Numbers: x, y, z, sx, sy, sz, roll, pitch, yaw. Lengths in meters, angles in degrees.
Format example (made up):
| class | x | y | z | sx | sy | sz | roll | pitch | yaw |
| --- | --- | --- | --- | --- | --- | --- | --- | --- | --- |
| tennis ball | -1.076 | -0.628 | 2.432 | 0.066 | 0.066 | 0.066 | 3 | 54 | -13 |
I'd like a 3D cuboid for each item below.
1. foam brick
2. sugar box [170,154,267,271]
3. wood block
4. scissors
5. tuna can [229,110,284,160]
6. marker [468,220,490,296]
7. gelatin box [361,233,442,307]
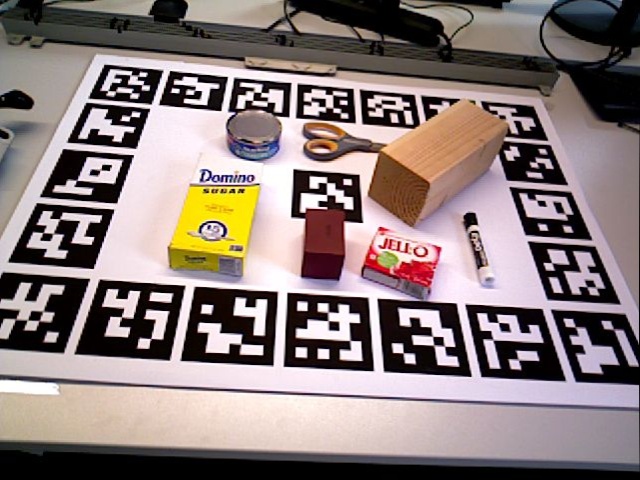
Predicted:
| class | x | y | z | sx | sy | sz | roll | pitch | yaw |
| --- | --- | --- | --- | --- | --- | --- | --- | --- | --- |
| foam brick | 0.006 | 0.010 | 0.701 | 0.052 | 0.052 | 0.076 | 7 | 51 | -1 |
| sugar box | -0.132 | -0.040 | 0.735 | 0.092 | 0.046 | 0.173 | 10 | 51 | 0 |
| wood block | 0.189 | -0.105 | 0.800 | 0.202 | 0.093 | 0.090 | -33 | 61 | -30 |
| scissors | 0.072 | -0.144 | 0.862 | 0.202 | 0.016 | 0.086 | 11 | 51 | 5 |
| tuna can | -0.098 | -0.164 | 0.842 | 0.085 | 0.034 | 0.084 | 3 | 51 | -5 |
| marker | 0.216 | 0.021 | 0.741 | 0.019 | 0.020 | 0.119 | 7 | 53 | -2 |
| gelatin box | 0.106 | 0.037 | 0.710 | 0.089 | 0.031 | 0.072 | 21 | 52 | 10 |
